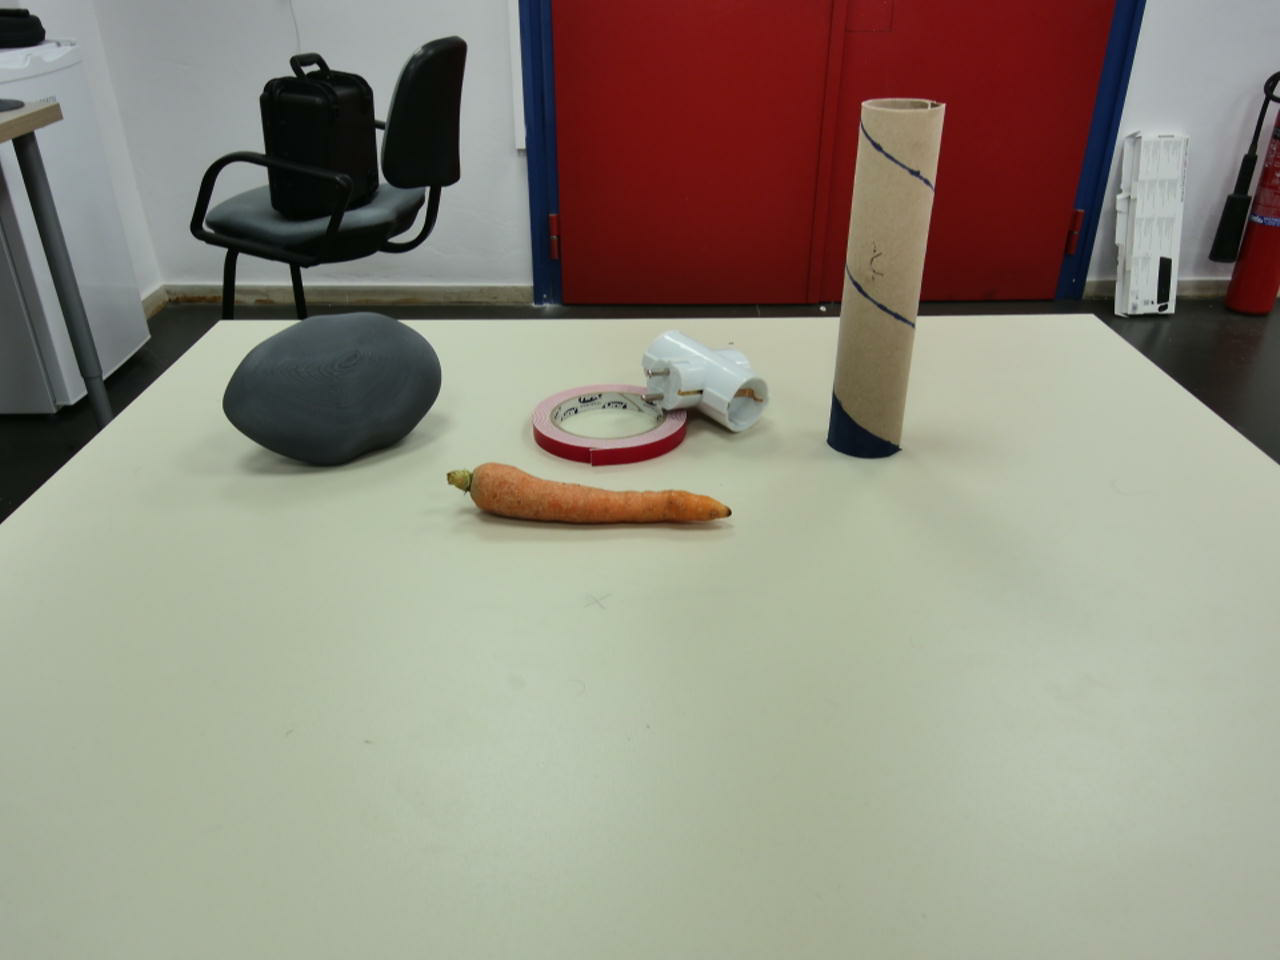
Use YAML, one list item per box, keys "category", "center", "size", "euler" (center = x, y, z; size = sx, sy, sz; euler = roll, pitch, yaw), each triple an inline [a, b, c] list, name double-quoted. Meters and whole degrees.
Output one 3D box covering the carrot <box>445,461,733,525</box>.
- category: "carrot"
  center: [-0.031, 0.009, 0.595]
  size: [0.173, 0.032, 0.030]
  euler: [4, 27, 8]
